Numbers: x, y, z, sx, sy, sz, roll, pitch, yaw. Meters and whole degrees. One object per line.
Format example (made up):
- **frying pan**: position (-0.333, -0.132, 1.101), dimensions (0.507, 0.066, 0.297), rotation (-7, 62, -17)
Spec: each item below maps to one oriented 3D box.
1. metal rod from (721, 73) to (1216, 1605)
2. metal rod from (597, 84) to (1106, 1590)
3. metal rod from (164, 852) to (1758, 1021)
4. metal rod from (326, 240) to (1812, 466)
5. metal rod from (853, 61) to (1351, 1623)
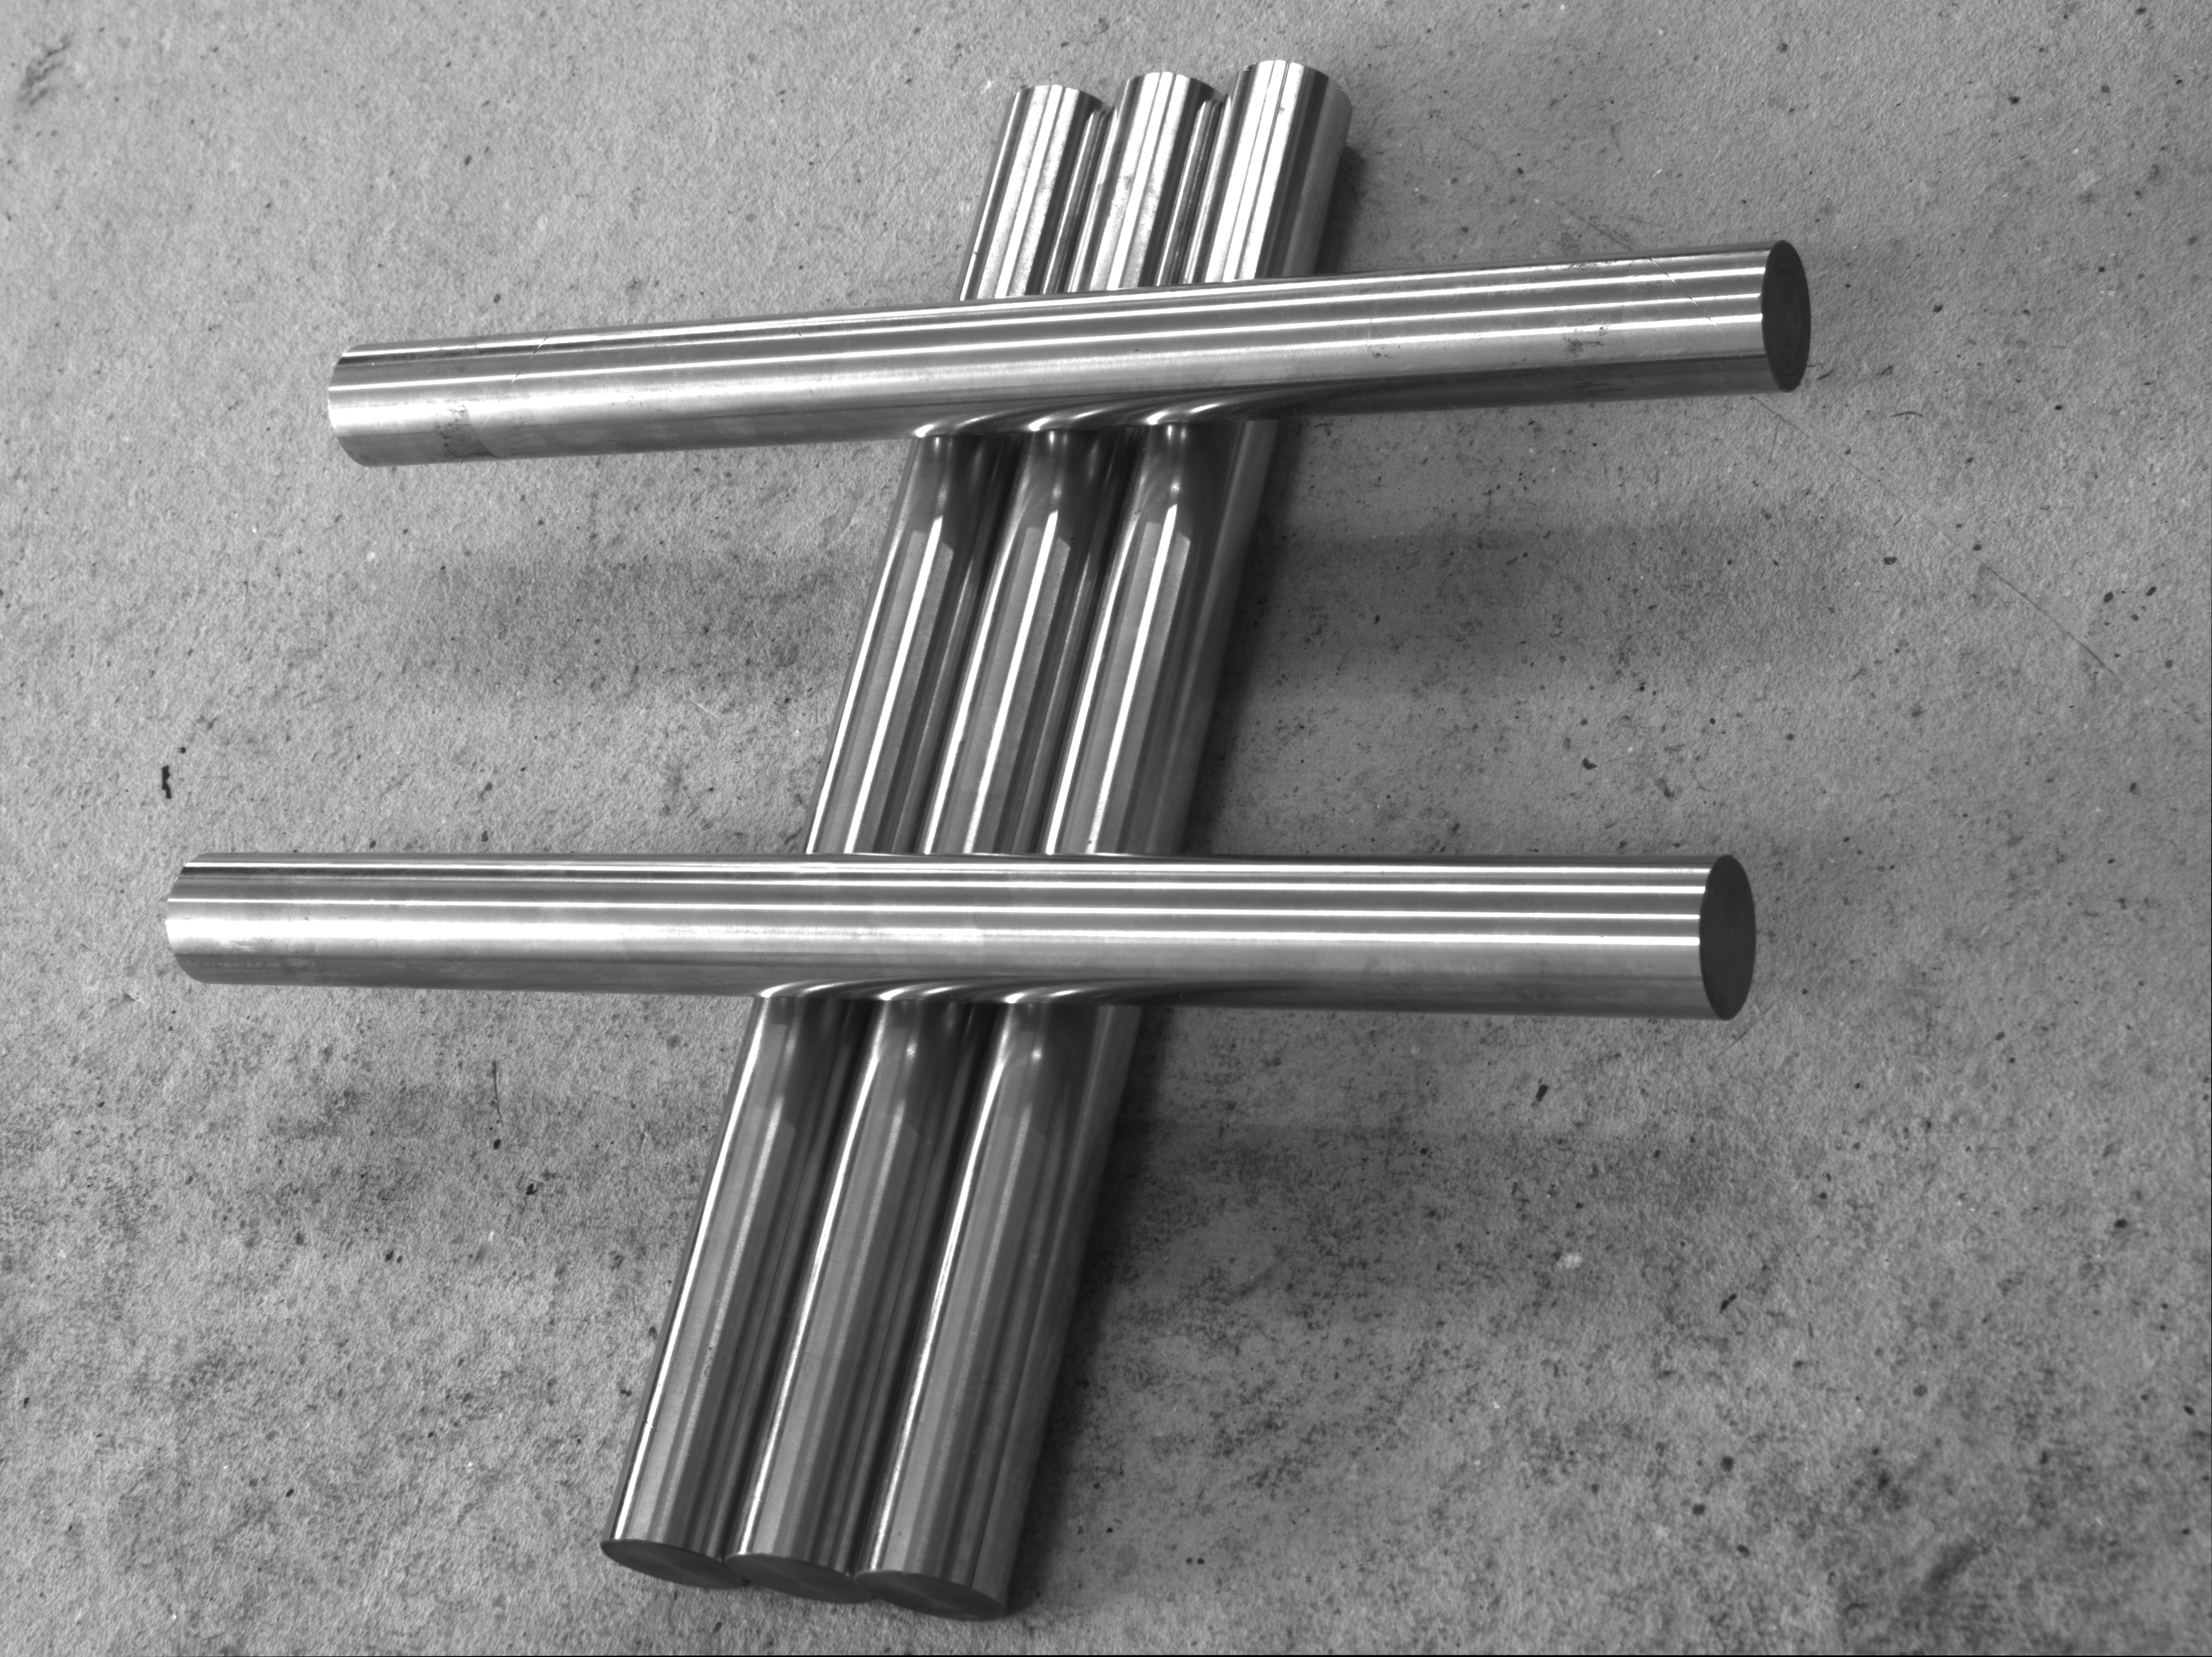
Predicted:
- **metal rod**: position (-0.019, -0.010, 0.661), dimensions (0.025, 0.025, 0.300), rotation (-1, 61, 28)
- **metal rod**: position (-0.040, -0.010, 0.673), dimensions (0.025, 0.025, 0.300), rotation (-1, 61, 28)
- **metal rod**: position (-0.038, 0.017, 0.622), dimensions (0.299, 0.025, 0.025), rotation (0, 61, 28)
- **metal rod**: position (-0.019, -0.085, 0.675), dimensions (0.299, 0.025, 0.025), rotation (0, 62, 28)
- **metal rod**: position (0.004, -0.009, 0.649), dimensions (0.025, 0.025, 0.300), rotation (-1, 61, 28)
